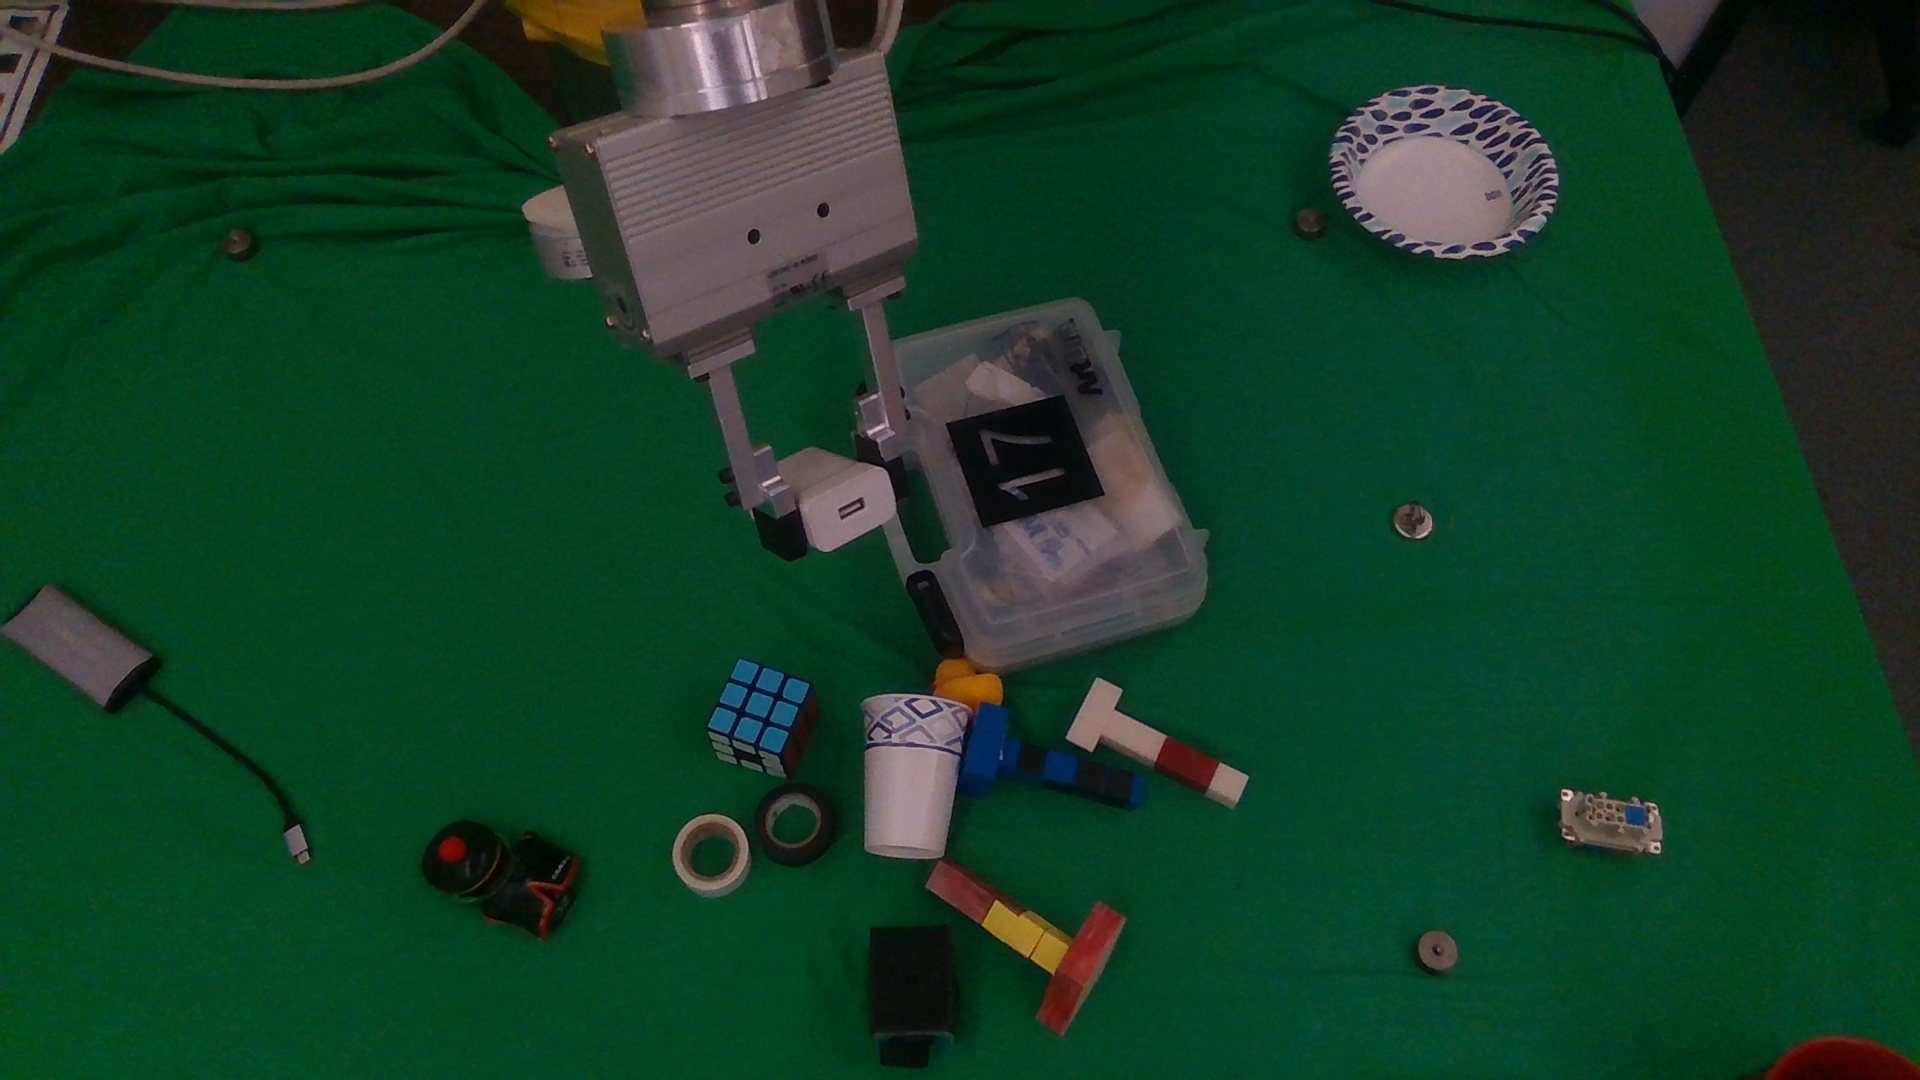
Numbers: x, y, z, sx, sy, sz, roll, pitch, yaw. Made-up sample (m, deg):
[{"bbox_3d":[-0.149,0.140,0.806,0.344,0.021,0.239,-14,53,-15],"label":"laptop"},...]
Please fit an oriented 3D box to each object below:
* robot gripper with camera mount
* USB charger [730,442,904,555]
[{"bbox_3d":[-0.116,-0.099,0.587,0.118,0.158,0.194,-32,35,-28],"label":"robot gripper with camera mount"},{"bbox_3d":[-0.065,-0.020,0.582,0.076,0.029,0.044,14,45,34],"label":"USB charger"}]
